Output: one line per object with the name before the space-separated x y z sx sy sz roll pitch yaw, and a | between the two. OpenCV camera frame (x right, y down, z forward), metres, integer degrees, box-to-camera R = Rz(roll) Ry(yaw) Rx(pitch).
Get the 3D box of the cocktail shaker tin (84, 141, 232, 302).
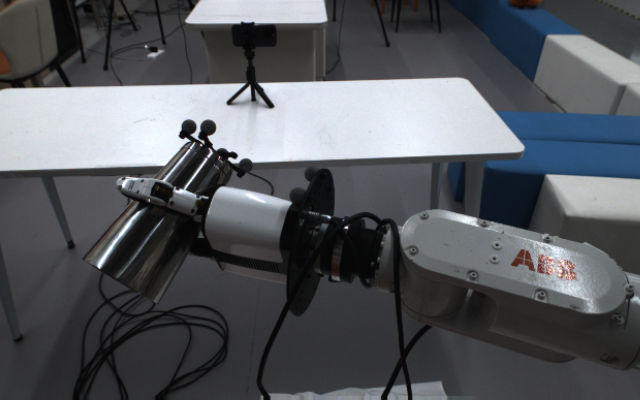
cocktail shaker tin | -0.171 0.017 0.543 0.093 0.093 0.170 20 66 24
